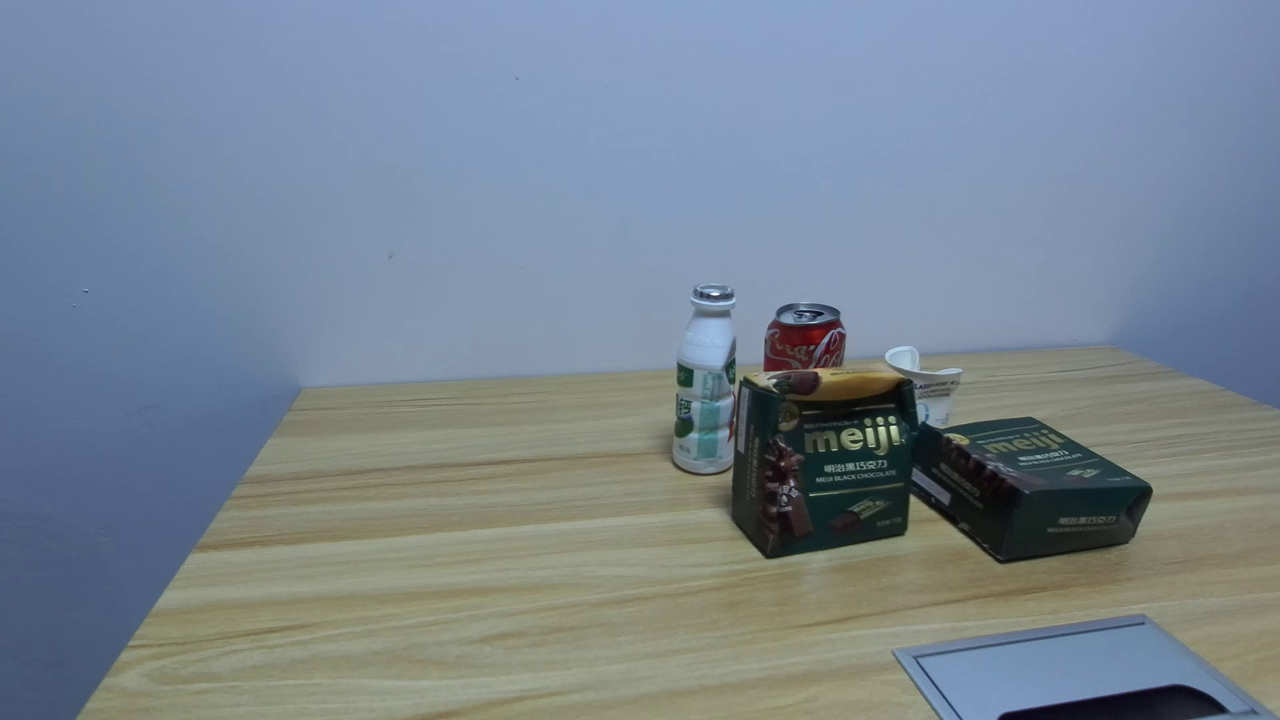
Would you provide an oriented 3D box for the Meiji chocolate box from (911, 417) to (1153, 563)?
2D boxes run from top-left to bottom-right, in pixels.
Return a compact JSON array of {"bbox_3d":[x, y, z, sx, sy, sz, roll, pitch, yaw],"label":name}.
[{"bbox_3d":[0.275,0.089,0.510,0.116,0.058,0.122,-2,20,-15],"label":"Meiji chocolate box"}]

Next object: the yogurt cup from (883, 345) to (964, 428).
[{"bbox_3d":[0.249,0.032,0.636,0.067,0.070,0.067,2,22,-1],"label":"yogurt cup"}]

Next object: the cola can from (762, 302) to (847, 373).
[{"bbox_3d":[0.142,0.013,0.611,0.066,0.117,0.072,-4,18,-24],"label":"cola can"}]

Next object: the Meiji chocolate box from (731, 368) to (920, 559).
[{"bbox_3d":[0.126,0.063,0.479,0.117,0.117,0.051,-4,13,-17],"label":"Meiji chocolate box"}]

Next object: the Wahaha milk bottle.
[{"bbox_3d":[0.054,0.016,0.552,0.056,0.147,0.056,3,17,-1],"label":"Wahaha milk bottle"}]
